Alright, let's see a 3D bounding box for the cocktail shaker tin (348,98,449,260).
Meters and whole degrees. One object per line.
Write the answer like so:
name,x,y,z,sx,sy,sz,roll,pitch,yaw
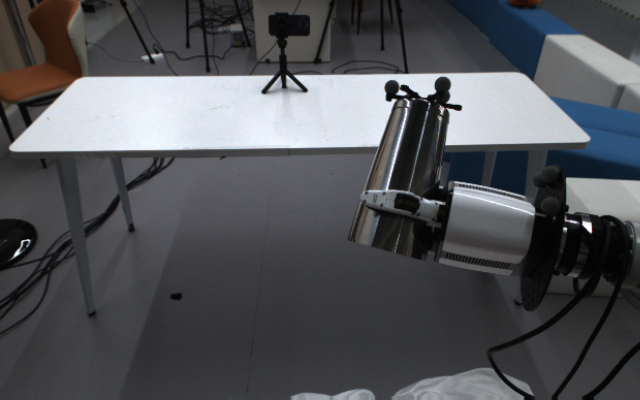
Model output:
cocktail shaker tin,0.097,-0.024,0.556,0.093,0.170,0.093,15,-4,1
